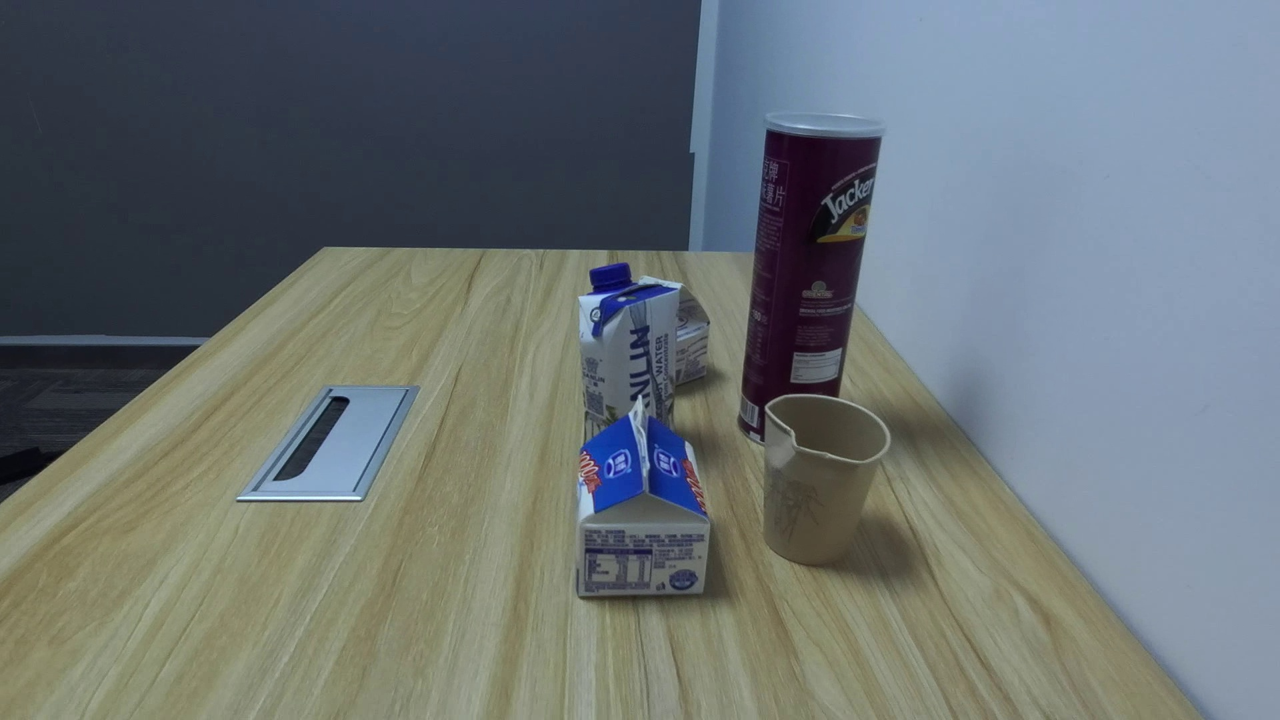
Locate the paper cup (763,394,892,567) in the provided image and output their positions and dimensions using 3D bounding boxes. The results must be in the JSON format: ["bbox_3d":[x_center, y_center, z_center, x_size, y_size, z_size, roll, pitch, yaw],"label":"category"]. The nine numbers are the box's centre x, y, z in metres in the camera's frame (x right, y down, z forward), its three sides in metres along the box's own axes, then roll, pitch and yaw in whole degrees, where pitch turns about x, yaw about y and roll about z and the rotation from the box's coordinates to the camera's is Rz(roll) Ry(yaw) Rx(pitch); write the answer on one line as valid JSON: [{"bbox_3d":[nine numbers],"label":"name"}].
[{"bbox_3d":[0.105,0.073,0.424,0.073,0.081,0.069,10,27,16],"label":"paper cup"}]

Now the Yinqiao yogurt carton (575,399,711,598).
[{"bbox_3d":[0.000,0.076,0.404,0.074,0.092,0.075,0,27,-4],"label":"Yinqiao yogurt carton"}]

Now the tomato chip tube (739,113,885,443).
[{"bbox_3d":[0.118,-0.051,0.513,0.078,0.234,0.078,2,24,-1],"label":"tomato chip tube"}]

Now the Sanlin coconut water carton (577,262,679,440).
[{"bbox_3d":[-0.007,0.003,0.501,0.078,0.142,0.057,-23,29,-39],"label":"Sanlin coconut water carton"}]

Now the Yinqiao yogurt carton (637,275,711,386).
[{"bbox_3d":[0.014,-0.030,0.620,0.077,0.093,0.083,-17,31,-33],"label":"Yinqiao yogurt carton"}]
